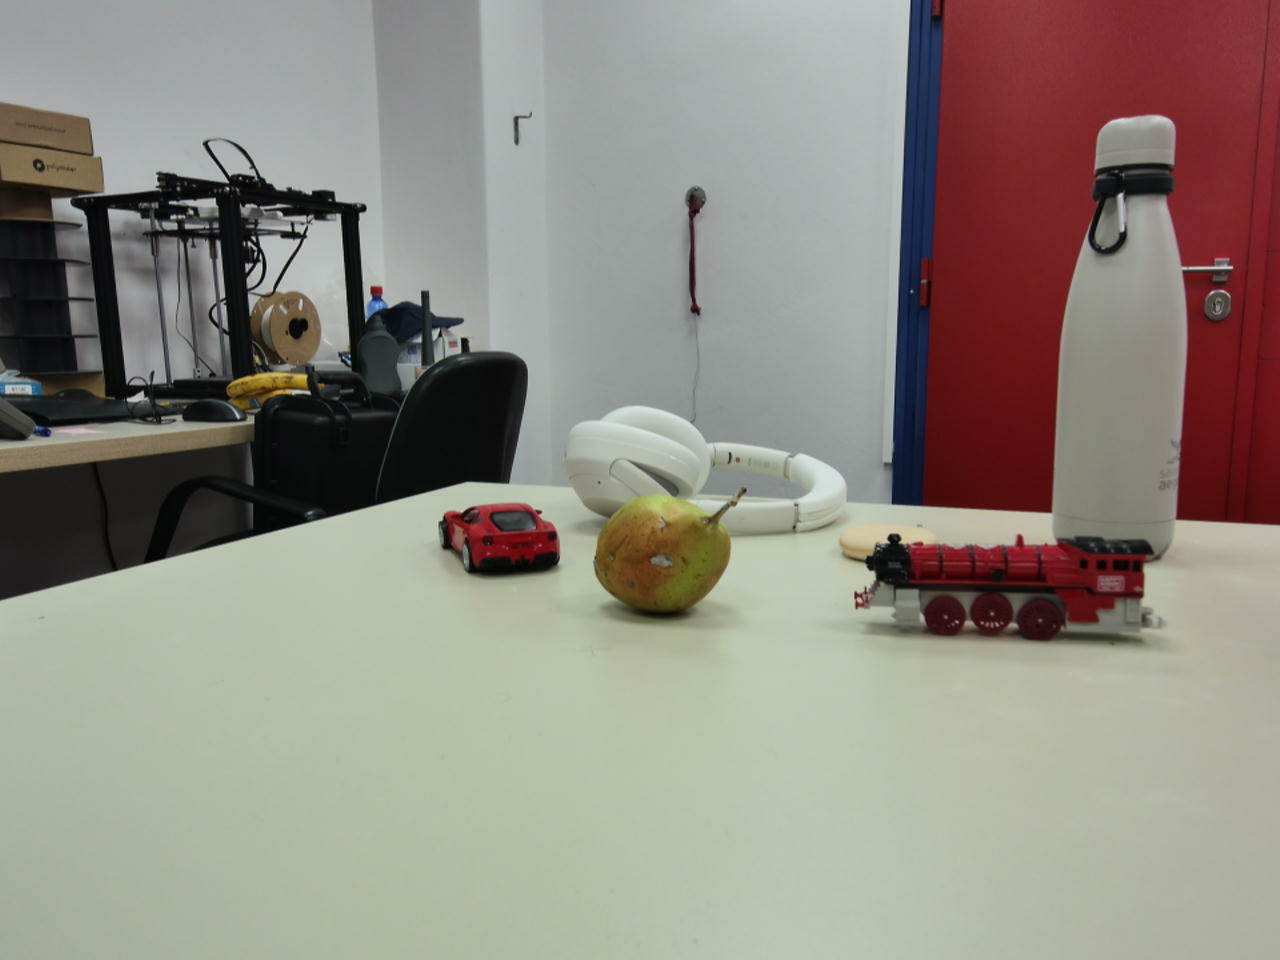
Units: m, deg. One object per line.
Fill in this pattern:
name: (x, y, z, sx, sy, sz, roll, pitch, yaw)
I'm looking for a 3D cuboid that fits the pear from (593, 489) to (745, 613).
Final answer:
pear: (0.012, 0.036, 0.530, 0.068, 0.069, 0.070, -1, 6, -15)
